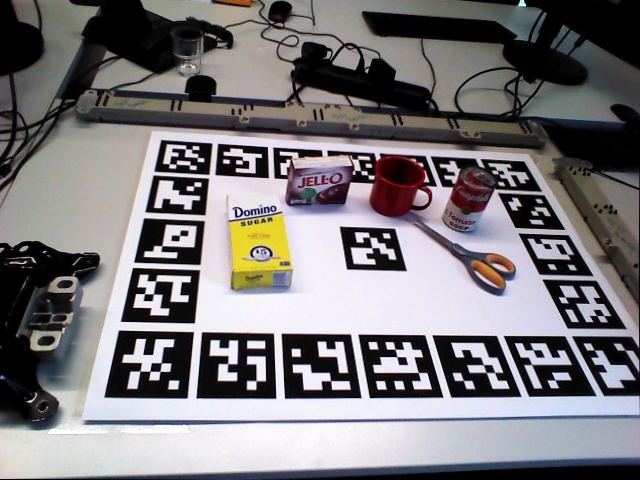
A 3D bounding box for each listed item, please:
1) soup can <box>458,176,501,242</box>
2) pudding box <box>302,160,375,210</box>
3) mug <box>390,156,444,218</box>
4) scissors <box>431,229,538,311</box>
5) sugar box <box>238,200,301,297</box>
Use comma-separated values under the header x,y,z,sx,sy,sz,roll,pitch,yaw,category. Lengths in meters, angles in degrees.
x,y,z,sx,sy,sz,roll,pitch,yaw,category
0.295,-0.055,0.928,0.068,0.102,0.067,4,45,-5,soup can
0.030,-0.098,0.916,0.114,0.090,0.038,-4,54,-15,pudding box
0.177,-0.087,0.942,0.093,0.082,0.117,-29,56,-29,mug
0.274,0.036,0.885,0.203,0.016,0.087,39,62,23,scissors
-0.084,0.009,0.835,0.093,0.045,0.175,-1,49,-9,sugar box
